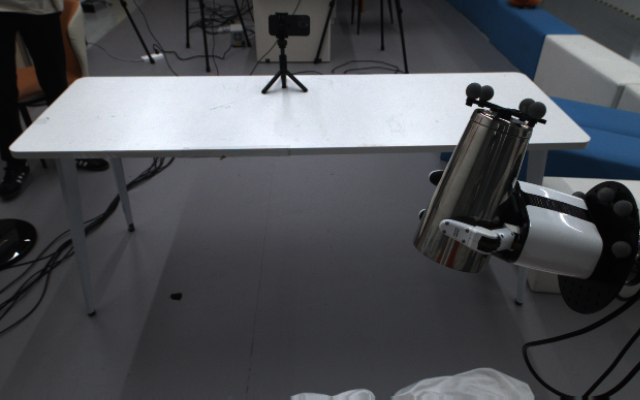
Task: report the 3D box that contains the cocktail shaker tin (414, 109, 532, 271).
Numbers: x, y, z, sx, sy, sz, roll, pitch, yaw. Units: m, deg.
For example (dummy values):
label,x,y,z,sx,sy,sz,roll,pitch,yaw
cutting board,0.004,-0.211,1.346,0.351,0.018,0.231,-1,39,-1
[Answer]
label,x,y,z,sx,sy,sz,roll,pitch,yaw
cocktail shaker tin,0.180,-0.013,0.561,0.093,0.170,0.093,14,20,-5
